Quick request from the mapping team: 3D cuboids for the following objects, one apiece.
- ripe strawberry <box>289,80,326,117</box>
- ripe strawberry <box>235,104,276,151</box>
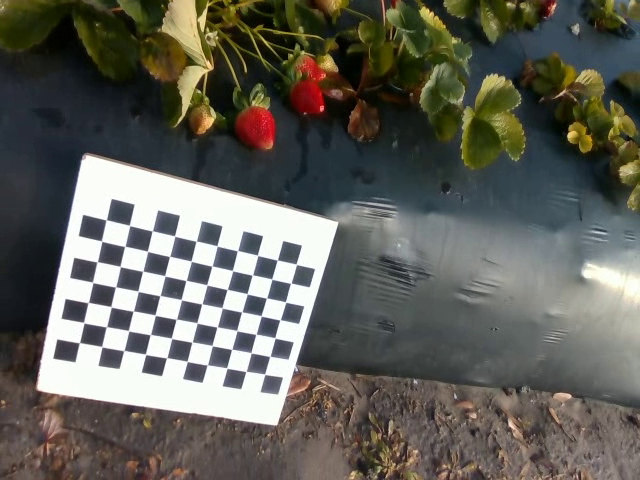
[{"bbox_3d":[-0.012,-0.170,0.770,0.055,0.045,0.041,43,2,32],"label":"ripe strawberry"},{"bbox_3d":[-0.070,-0.127,0.723,0.050,0.065,0.050,-25,-37,-5],"label":"ripe strawberry"}]
